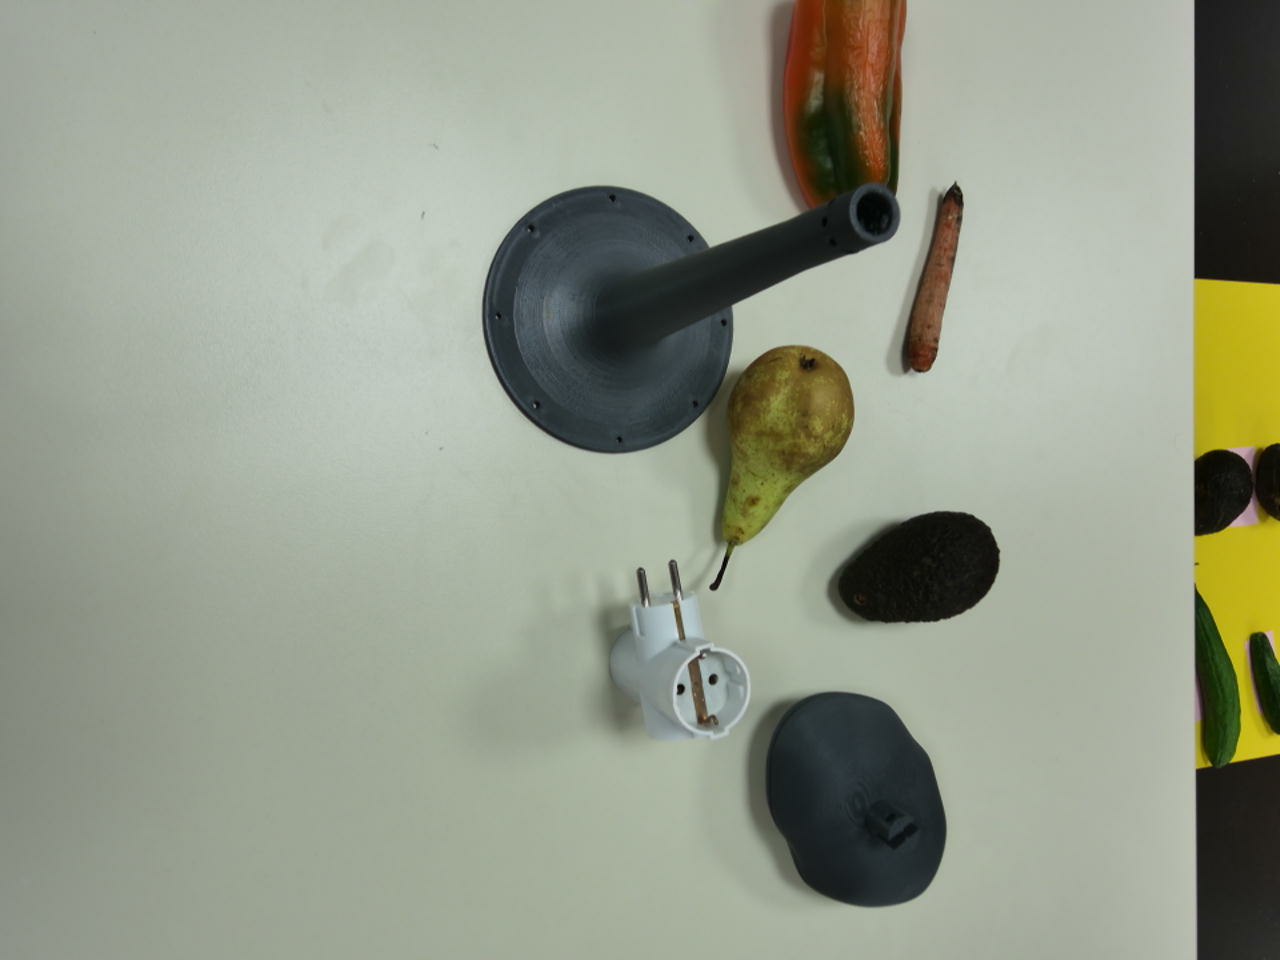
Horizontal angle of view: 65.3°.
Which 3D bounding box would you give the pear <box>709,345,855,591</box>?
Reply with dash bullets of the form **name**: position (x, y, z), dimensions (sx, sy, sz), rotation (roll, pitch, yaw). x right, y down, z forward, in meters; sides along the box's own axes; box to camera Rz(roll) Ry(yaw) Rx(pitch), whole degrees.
- **pear**: position (0.082, -0.005, 0.567), dimensions (0.071, 0.075, 0.144), rotation (7, 88, -22)
